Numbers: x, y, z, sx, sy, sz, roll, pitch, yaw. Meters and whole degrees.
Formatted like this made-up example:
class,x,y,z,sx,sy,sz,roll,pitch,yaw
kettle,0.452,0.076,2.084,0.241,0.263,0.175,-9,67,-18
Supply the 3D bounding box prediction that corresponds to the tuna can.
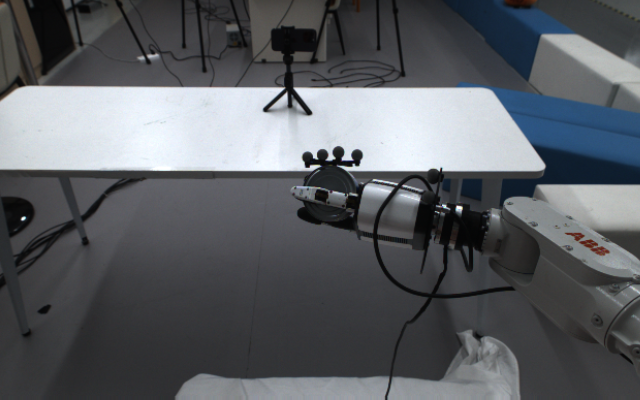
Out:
class,x,y,z,sx,sy,sz,roll,pitch,yaw
tuna can,0.018,-0.010,0.743,0.085,0.085,0.034,15,1,18
